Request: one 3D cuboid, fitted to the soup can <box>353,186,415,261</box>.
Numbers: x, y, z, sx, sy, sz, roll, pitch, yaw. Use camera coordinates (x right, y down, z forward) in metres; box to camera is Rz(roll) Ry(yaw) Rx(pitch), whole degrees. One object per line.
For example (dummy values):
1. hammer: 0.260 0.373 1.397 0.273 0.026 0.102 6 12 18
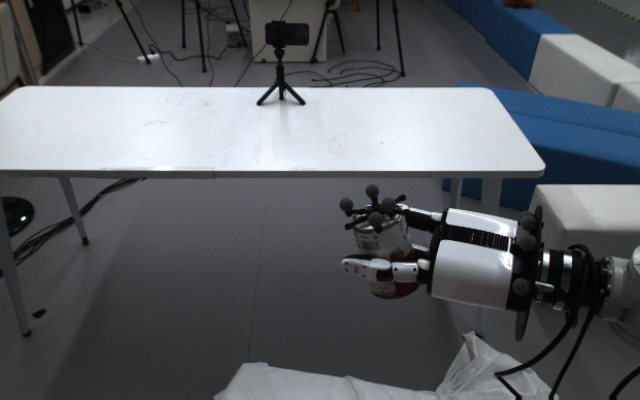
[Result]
1. soup can: 0.085 0.063 0.608 0.067 0.101 0.067 -16 23 7
